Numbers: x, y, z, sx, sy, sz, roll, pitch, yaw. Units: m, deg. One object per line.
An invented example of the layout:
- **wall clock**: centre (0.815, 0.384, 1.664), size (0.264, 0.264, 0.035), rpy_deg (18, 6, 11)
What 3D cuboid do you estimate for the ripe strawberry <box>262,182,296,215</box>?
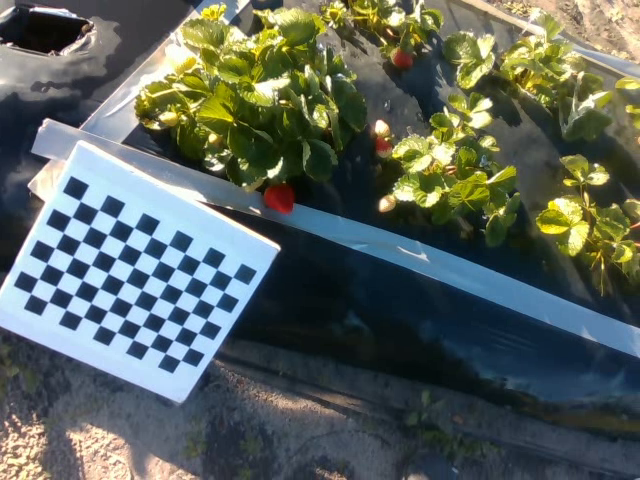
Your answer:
- **ripe strawberry**: centre (-0.055, -0.056, 0.792), size (0.045, 0.064, 0.049), rpy_deg (-34, -43, 7)
